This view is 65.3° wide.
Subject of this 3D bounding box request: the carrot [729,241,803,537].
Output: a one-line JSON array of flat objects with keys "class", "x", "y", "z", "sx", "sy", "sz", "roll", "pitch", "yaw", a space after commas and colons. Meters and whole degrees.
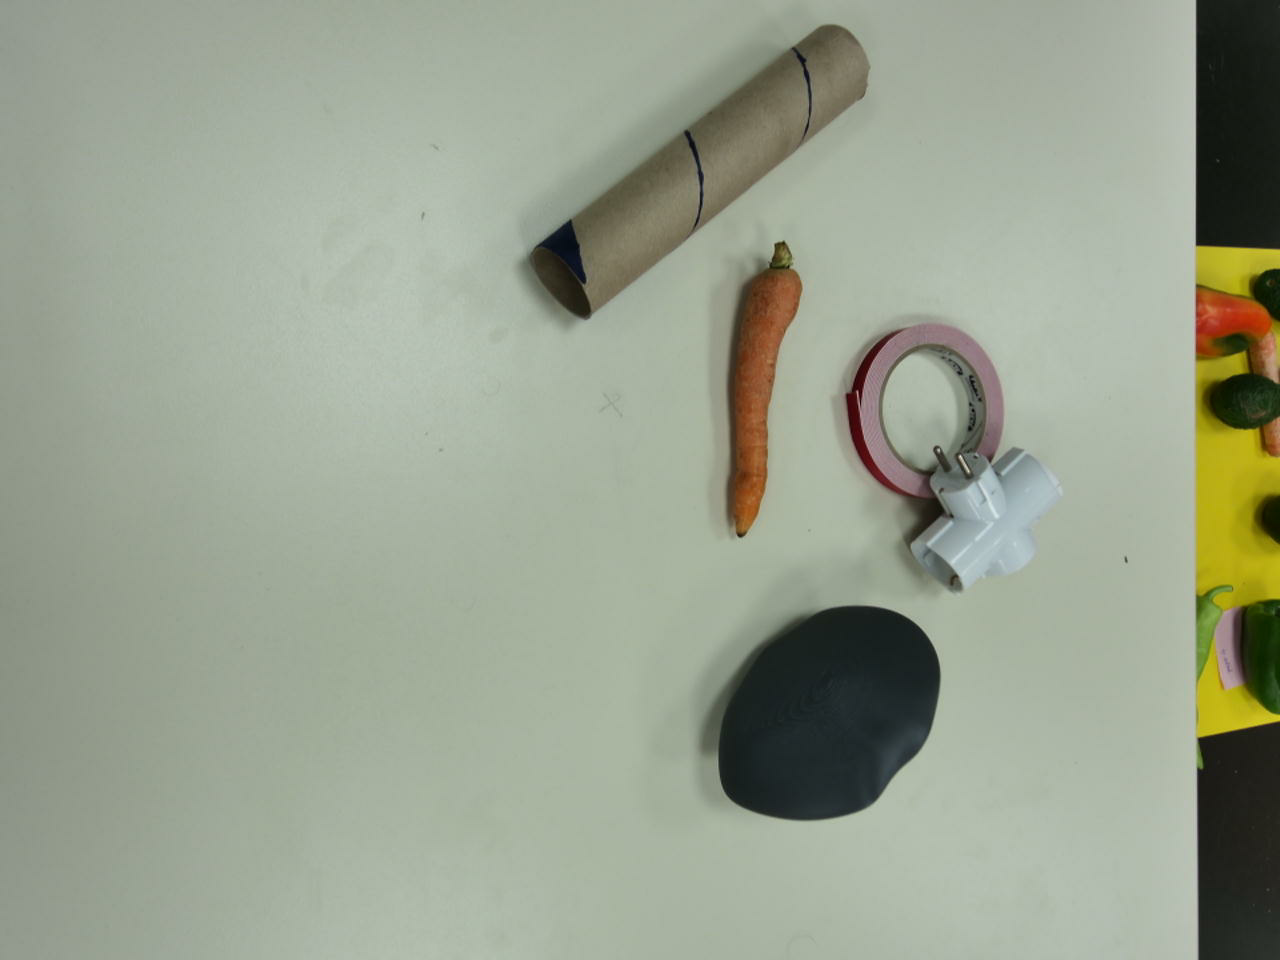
[{"class": "carrot", "x": 0.070, "y": -0.053, "z": 0.584, "sx": 0.030, "sy": 0.032, "sz": 0.173, "roll": 9, "pitch": 87, "yaw": -22}]
